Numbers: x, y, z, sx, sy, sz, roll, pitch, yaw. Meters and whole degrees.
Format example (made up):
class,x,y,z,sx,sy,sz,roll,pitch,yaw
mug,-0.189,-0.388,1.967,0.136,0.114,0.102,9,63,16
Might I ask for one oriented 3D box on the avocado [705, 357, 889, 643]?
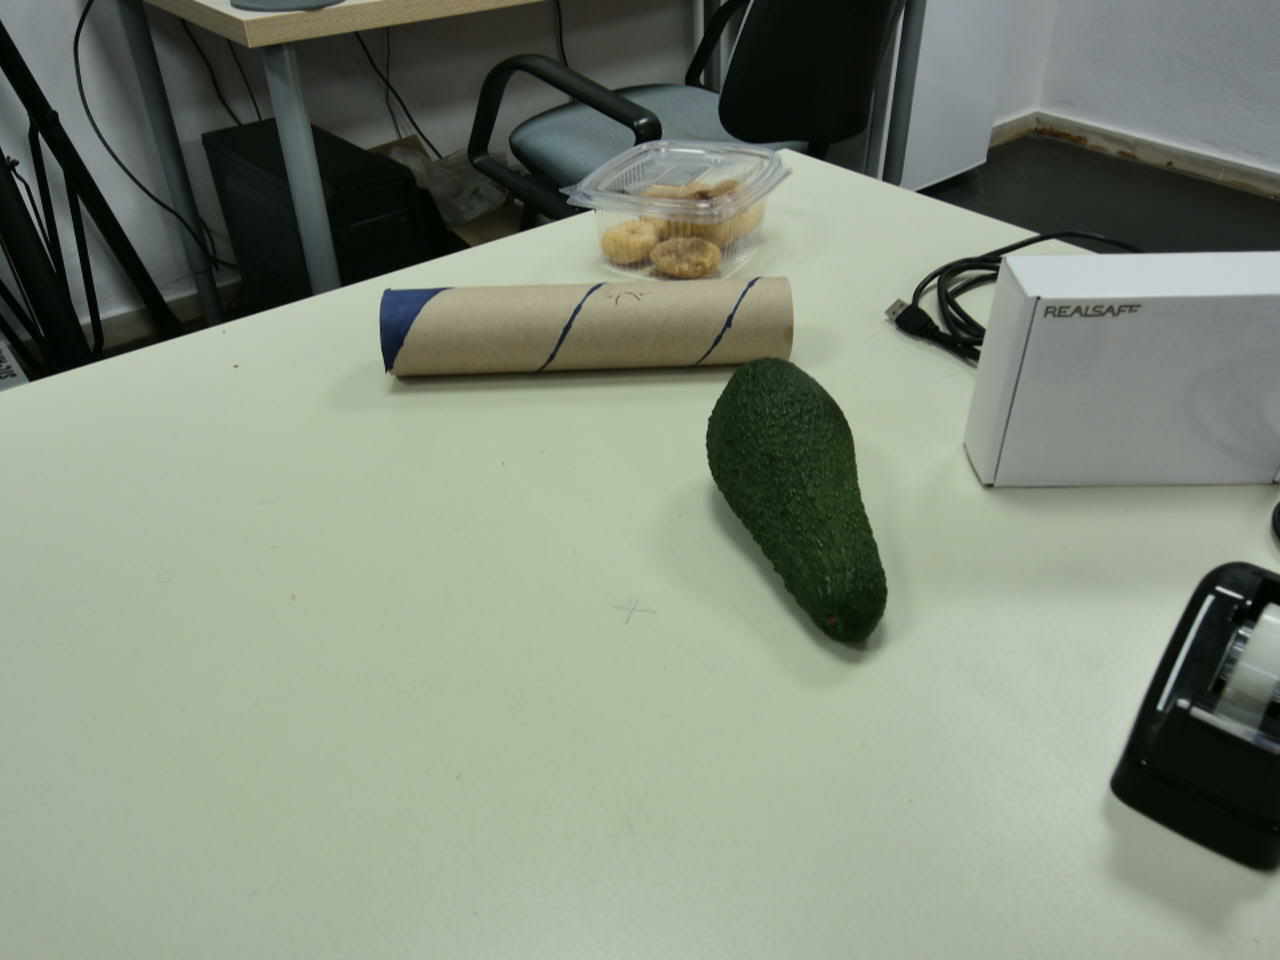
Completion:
class,x,y,z,sx,sy,sz,roll,pitch,yaw
avocado,0.071,-0.001,0.415,0.063,0.067,0.141,-14,37,-18
